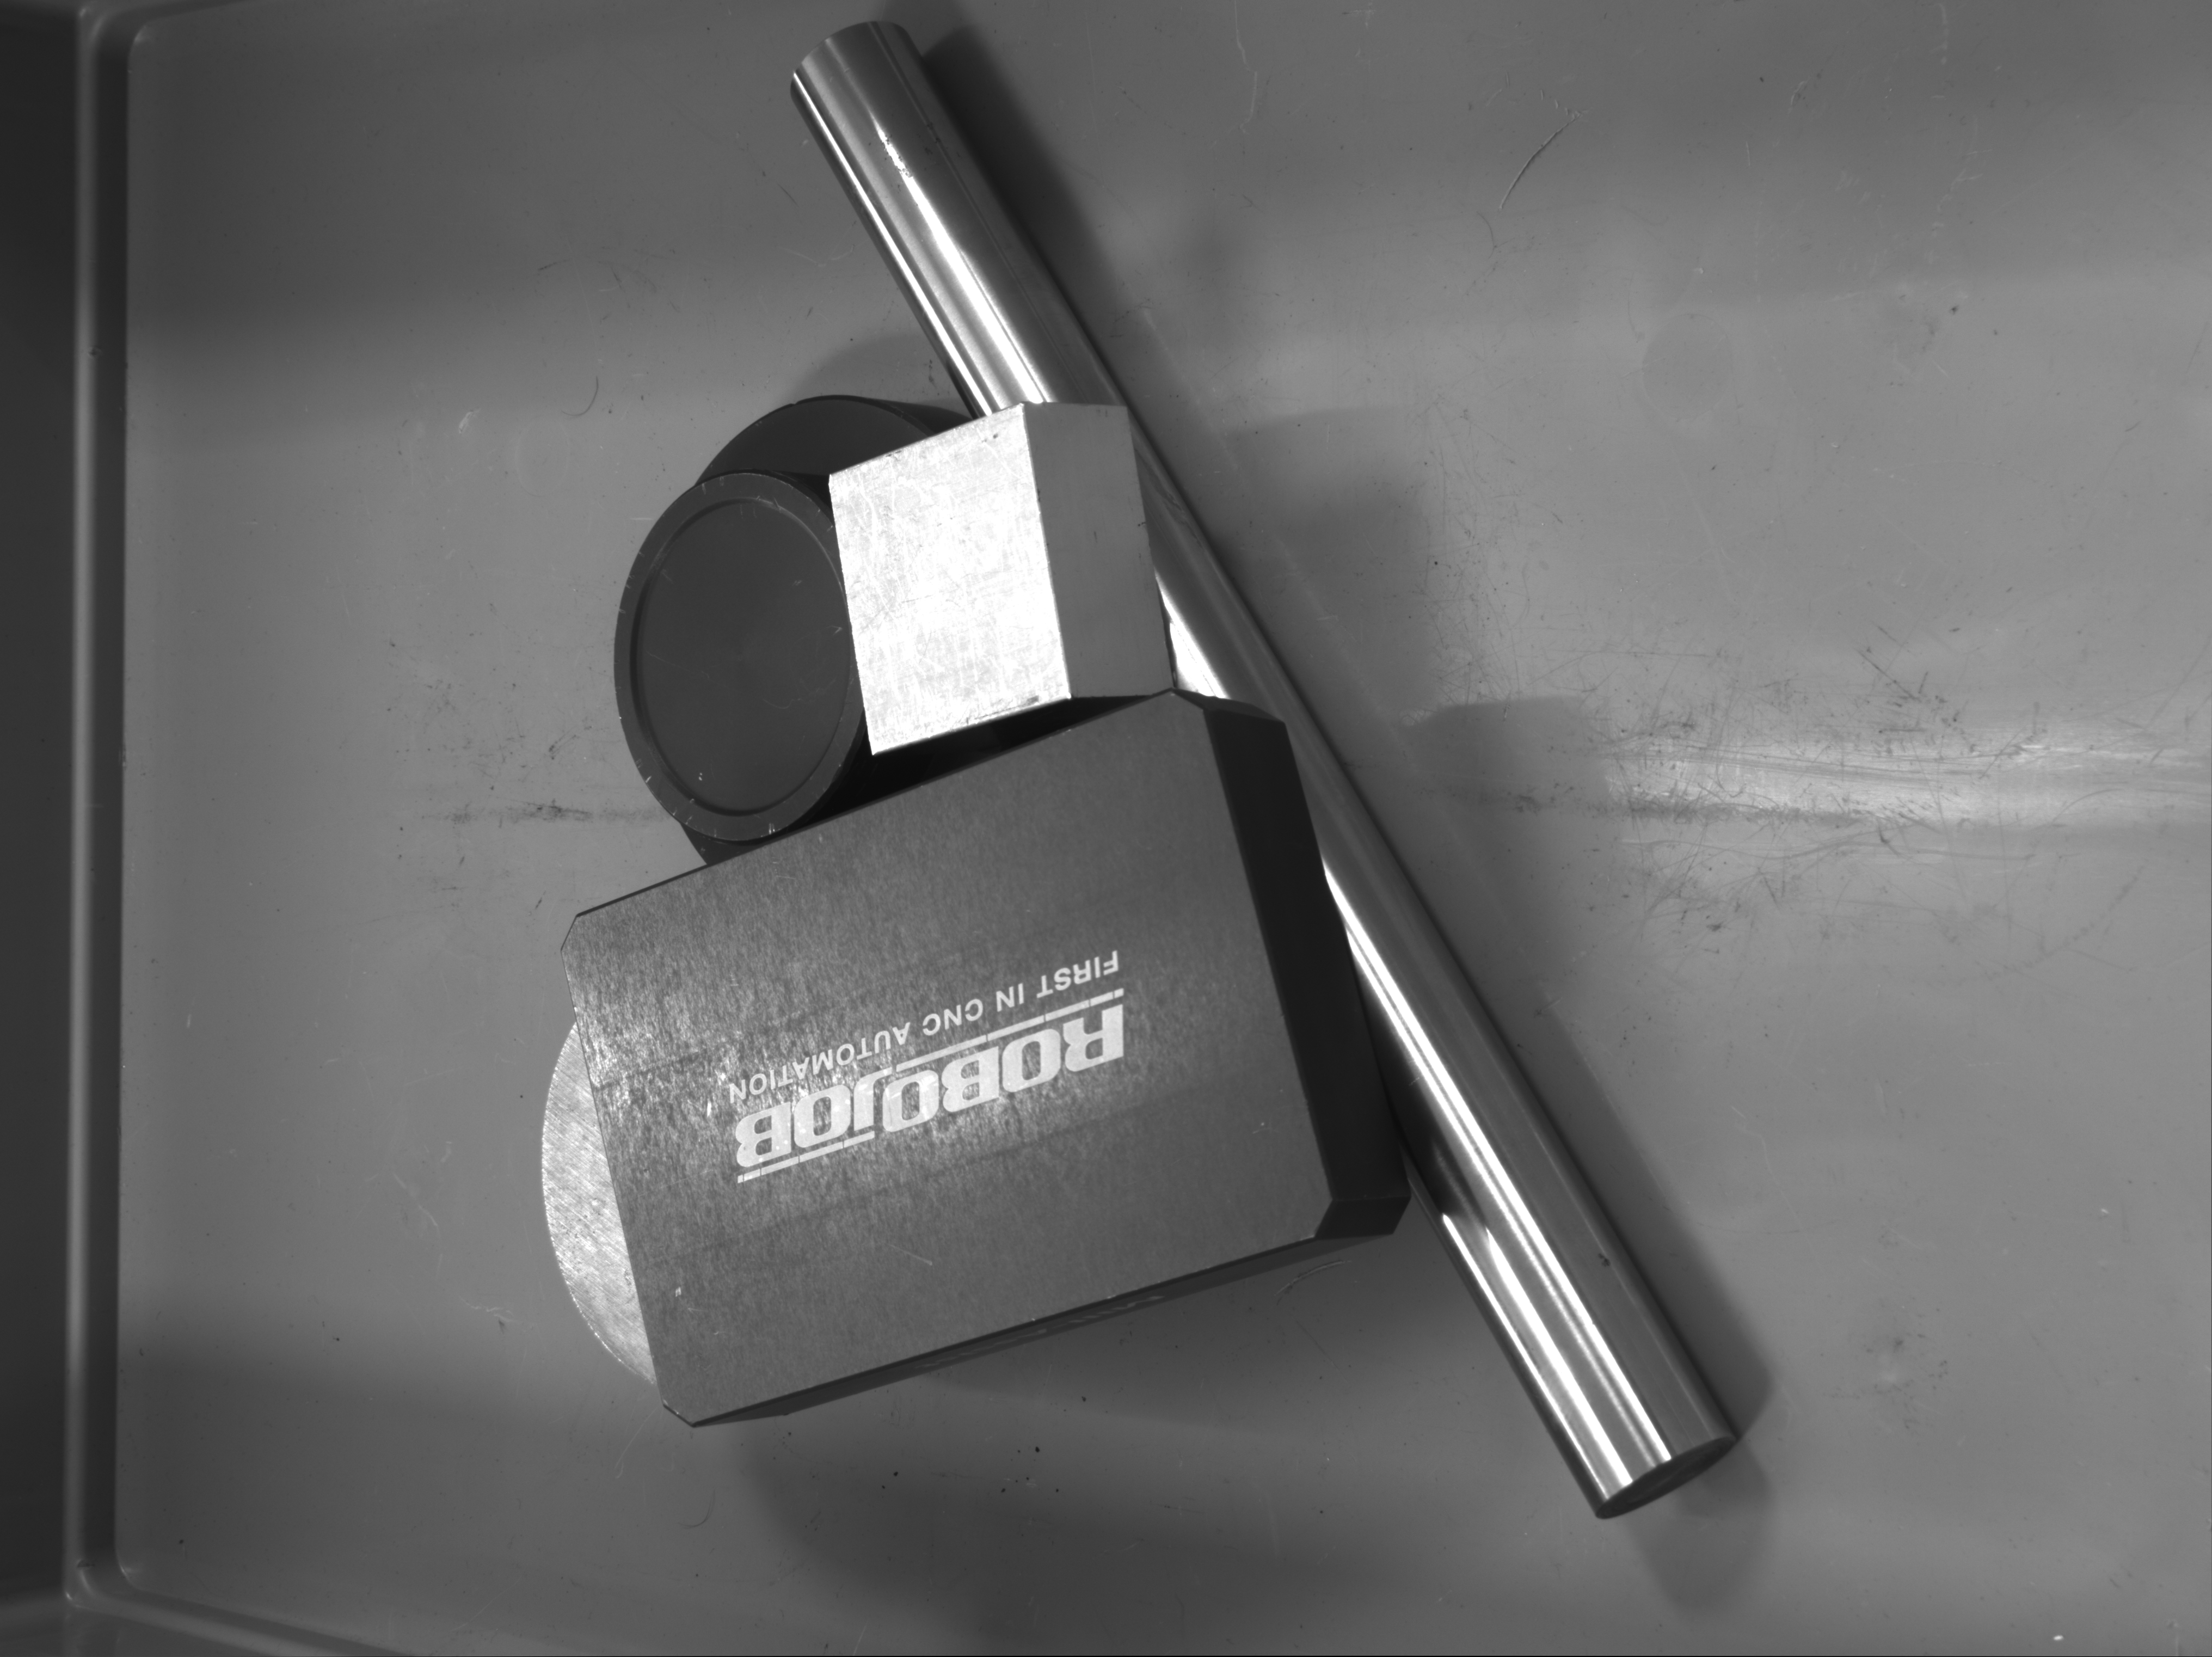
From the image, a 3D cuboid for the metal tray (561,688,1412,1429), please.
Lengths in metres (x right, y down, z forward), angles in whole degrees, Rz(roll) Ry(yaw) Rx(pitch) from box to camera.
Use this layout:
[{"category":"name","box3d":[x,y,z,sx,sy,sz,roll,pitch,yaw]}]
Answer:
[{"category":"metal tray","box3d":[-0.023,0.040,0.609,0.130,0.030,0.090,-20,77,25]}]

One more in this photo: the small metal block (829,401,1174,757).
[{"category":"small metal block","box3d":[-0.018,-0.042,0.628,0.050,0.025,0.050,-14,83,45]}]

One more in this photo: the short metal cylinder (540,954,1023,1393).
[{"category":"short metal cylinder","box3d":[-0.059,0.062,0.676,0.080,0.050,0.080,0,90,40]}]

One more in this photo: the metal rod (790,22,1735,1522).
[{"category":"metal rod","box3d":[0.020,-0.020,0.627,0.025,0.025,0.300,-43,64,31]}]

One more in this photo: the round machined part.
[{"category":"round machined part","box3d":[-0.054,-0.031,0.677,0.098,0.042,0.098,0,90,41]}]
